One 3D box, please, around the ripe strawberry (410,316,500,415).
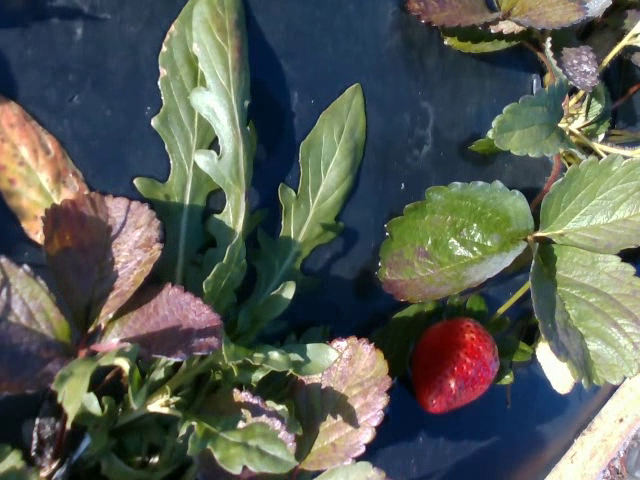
[{"bbox_3d":[0.046,0.046,0.220,0.036,0.044,0.053,37,31,21],"label":"ripe strawberry"}]
